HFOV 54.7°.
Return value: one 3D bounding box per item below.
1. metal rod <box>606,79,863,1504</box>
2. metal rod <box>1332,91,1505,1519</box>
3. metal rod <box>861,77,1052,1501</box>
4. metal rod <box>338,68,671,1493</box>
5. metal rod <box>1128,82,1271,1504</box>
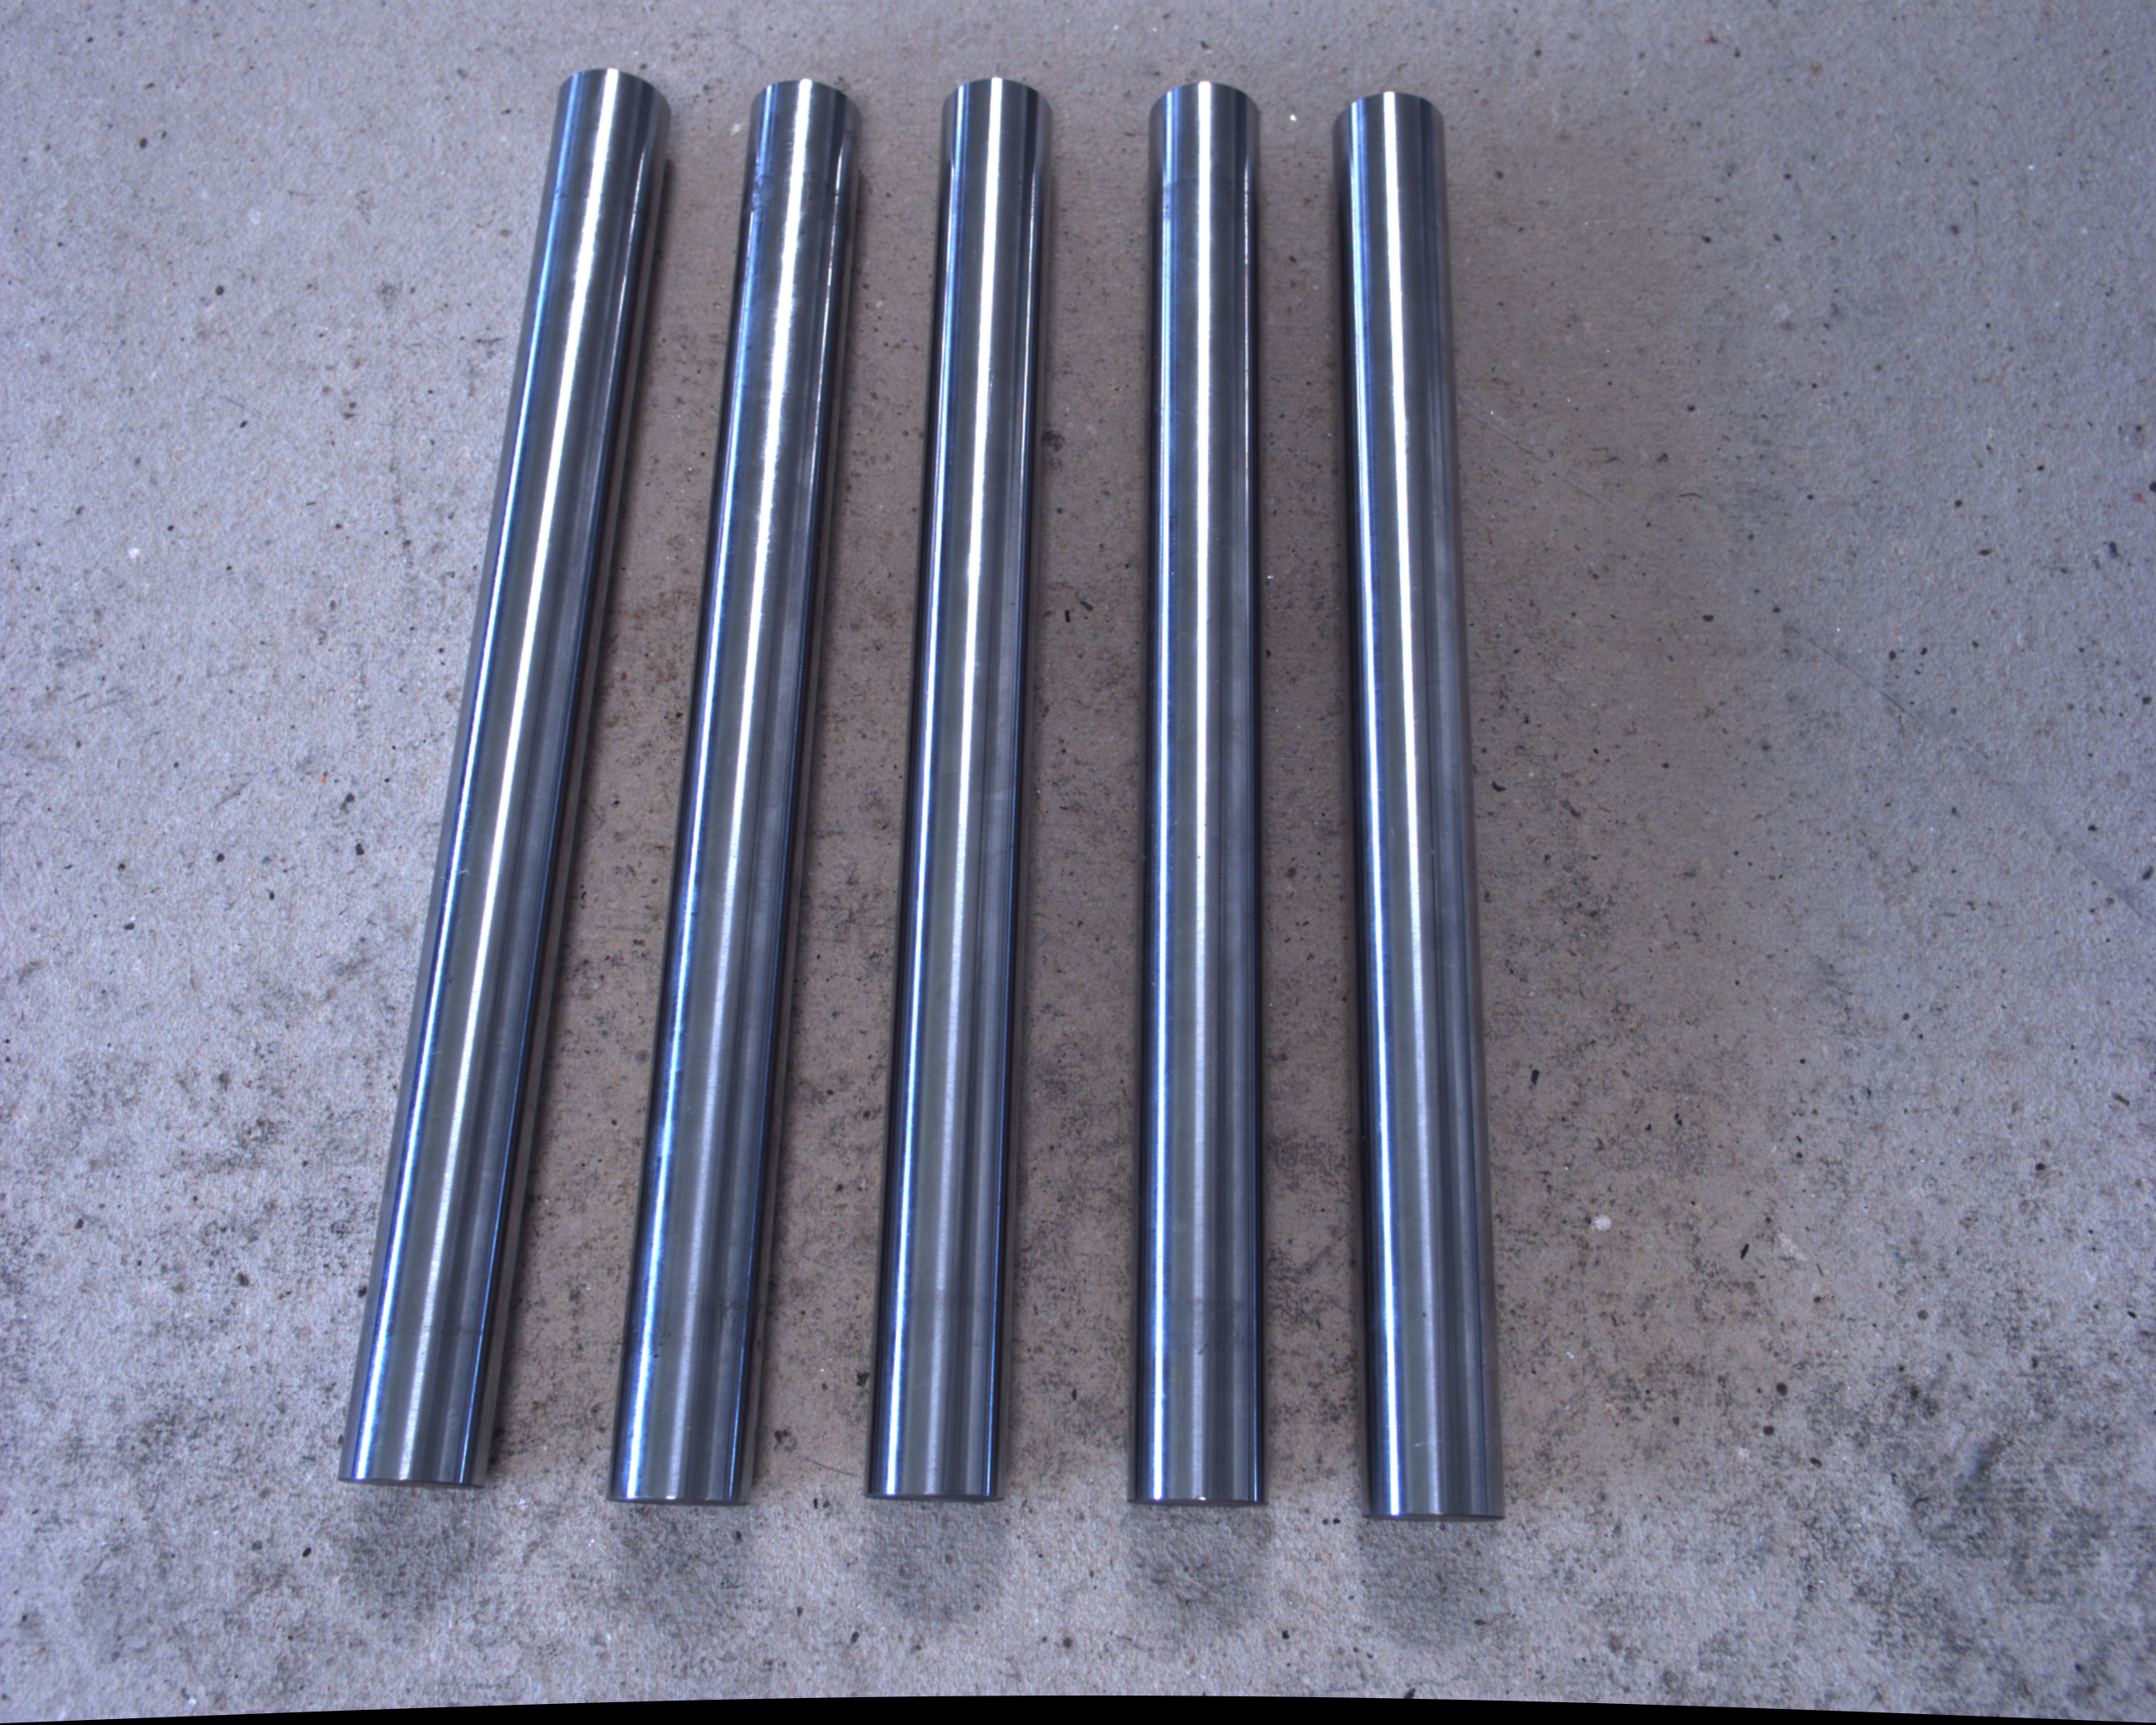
[{"bbox_3d":[-0.066,-0.028,0.419,0.025,0.025,0.299,2,70,0],"label":"metal rod"},{"bbox_3d":[0.066,-0.025,0.419,0.025,0.025,0.299,1,70,0],"label":"metal rod"},{"bbox_3d":[-0.022,-0.028,0.419,0.025,0.025,0.299,1,70,0],"label":"metal rod"},{"bbox_3d":[-0.110,-0.030,0.418,0.025,0.025,0.299,2,70,1],"label":"metal rod"},{"bbox_3d":[0.025,-0.027,0.419,0.025,0.025,0.299,1,70,0],"label":"metal rod"}]
